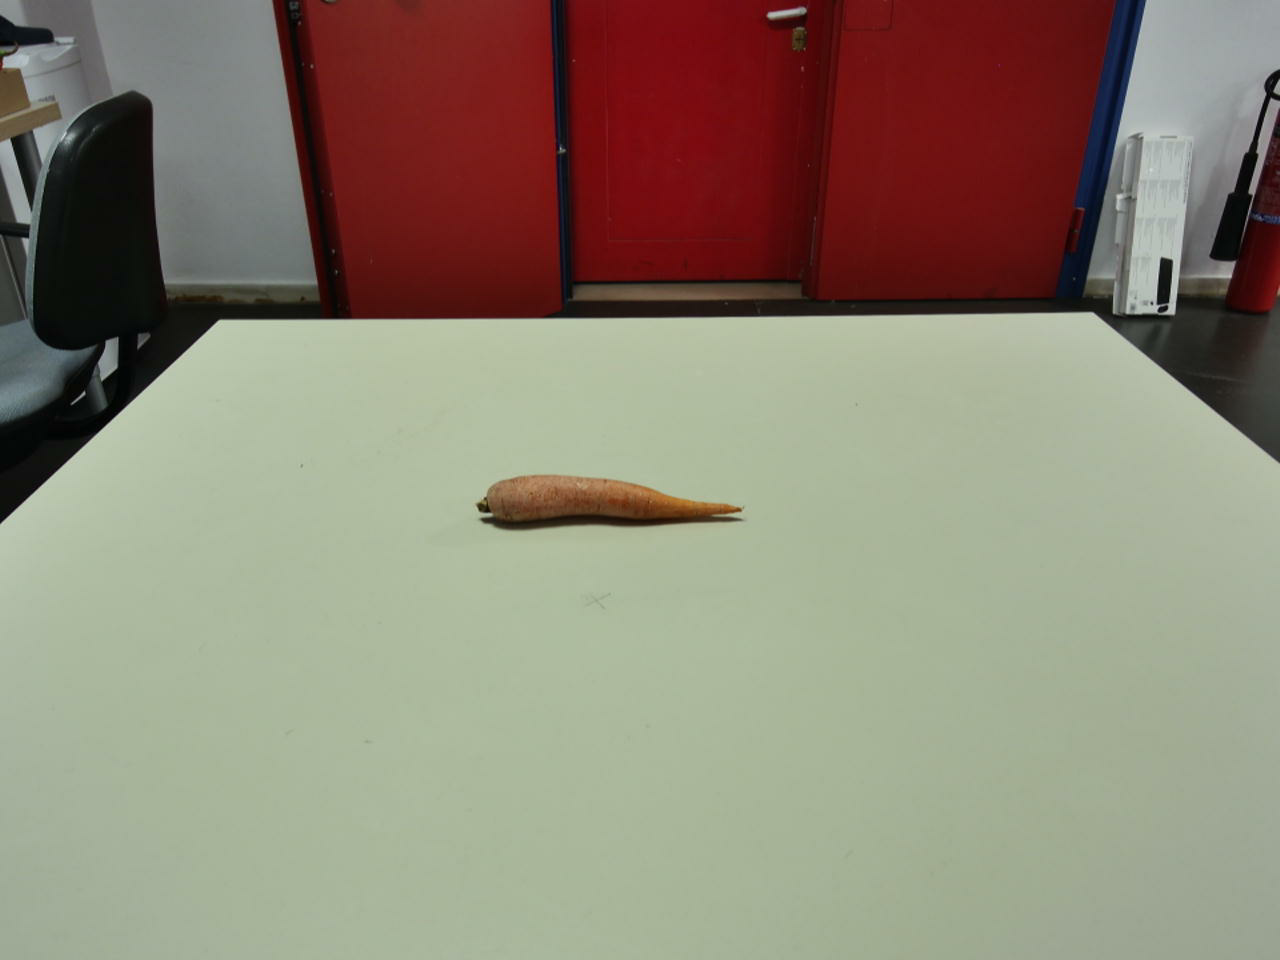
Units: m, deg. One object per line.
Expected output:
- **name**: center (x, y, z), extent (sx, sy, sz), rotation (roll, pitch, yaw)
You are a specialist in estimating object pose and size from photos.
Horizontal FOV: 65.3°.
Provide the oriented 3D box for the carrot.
- **carrot**: center (-0.017, 0.011, 0.628), extent (0.163, 0.029, 0.031), rotation (0, 27, 0)
